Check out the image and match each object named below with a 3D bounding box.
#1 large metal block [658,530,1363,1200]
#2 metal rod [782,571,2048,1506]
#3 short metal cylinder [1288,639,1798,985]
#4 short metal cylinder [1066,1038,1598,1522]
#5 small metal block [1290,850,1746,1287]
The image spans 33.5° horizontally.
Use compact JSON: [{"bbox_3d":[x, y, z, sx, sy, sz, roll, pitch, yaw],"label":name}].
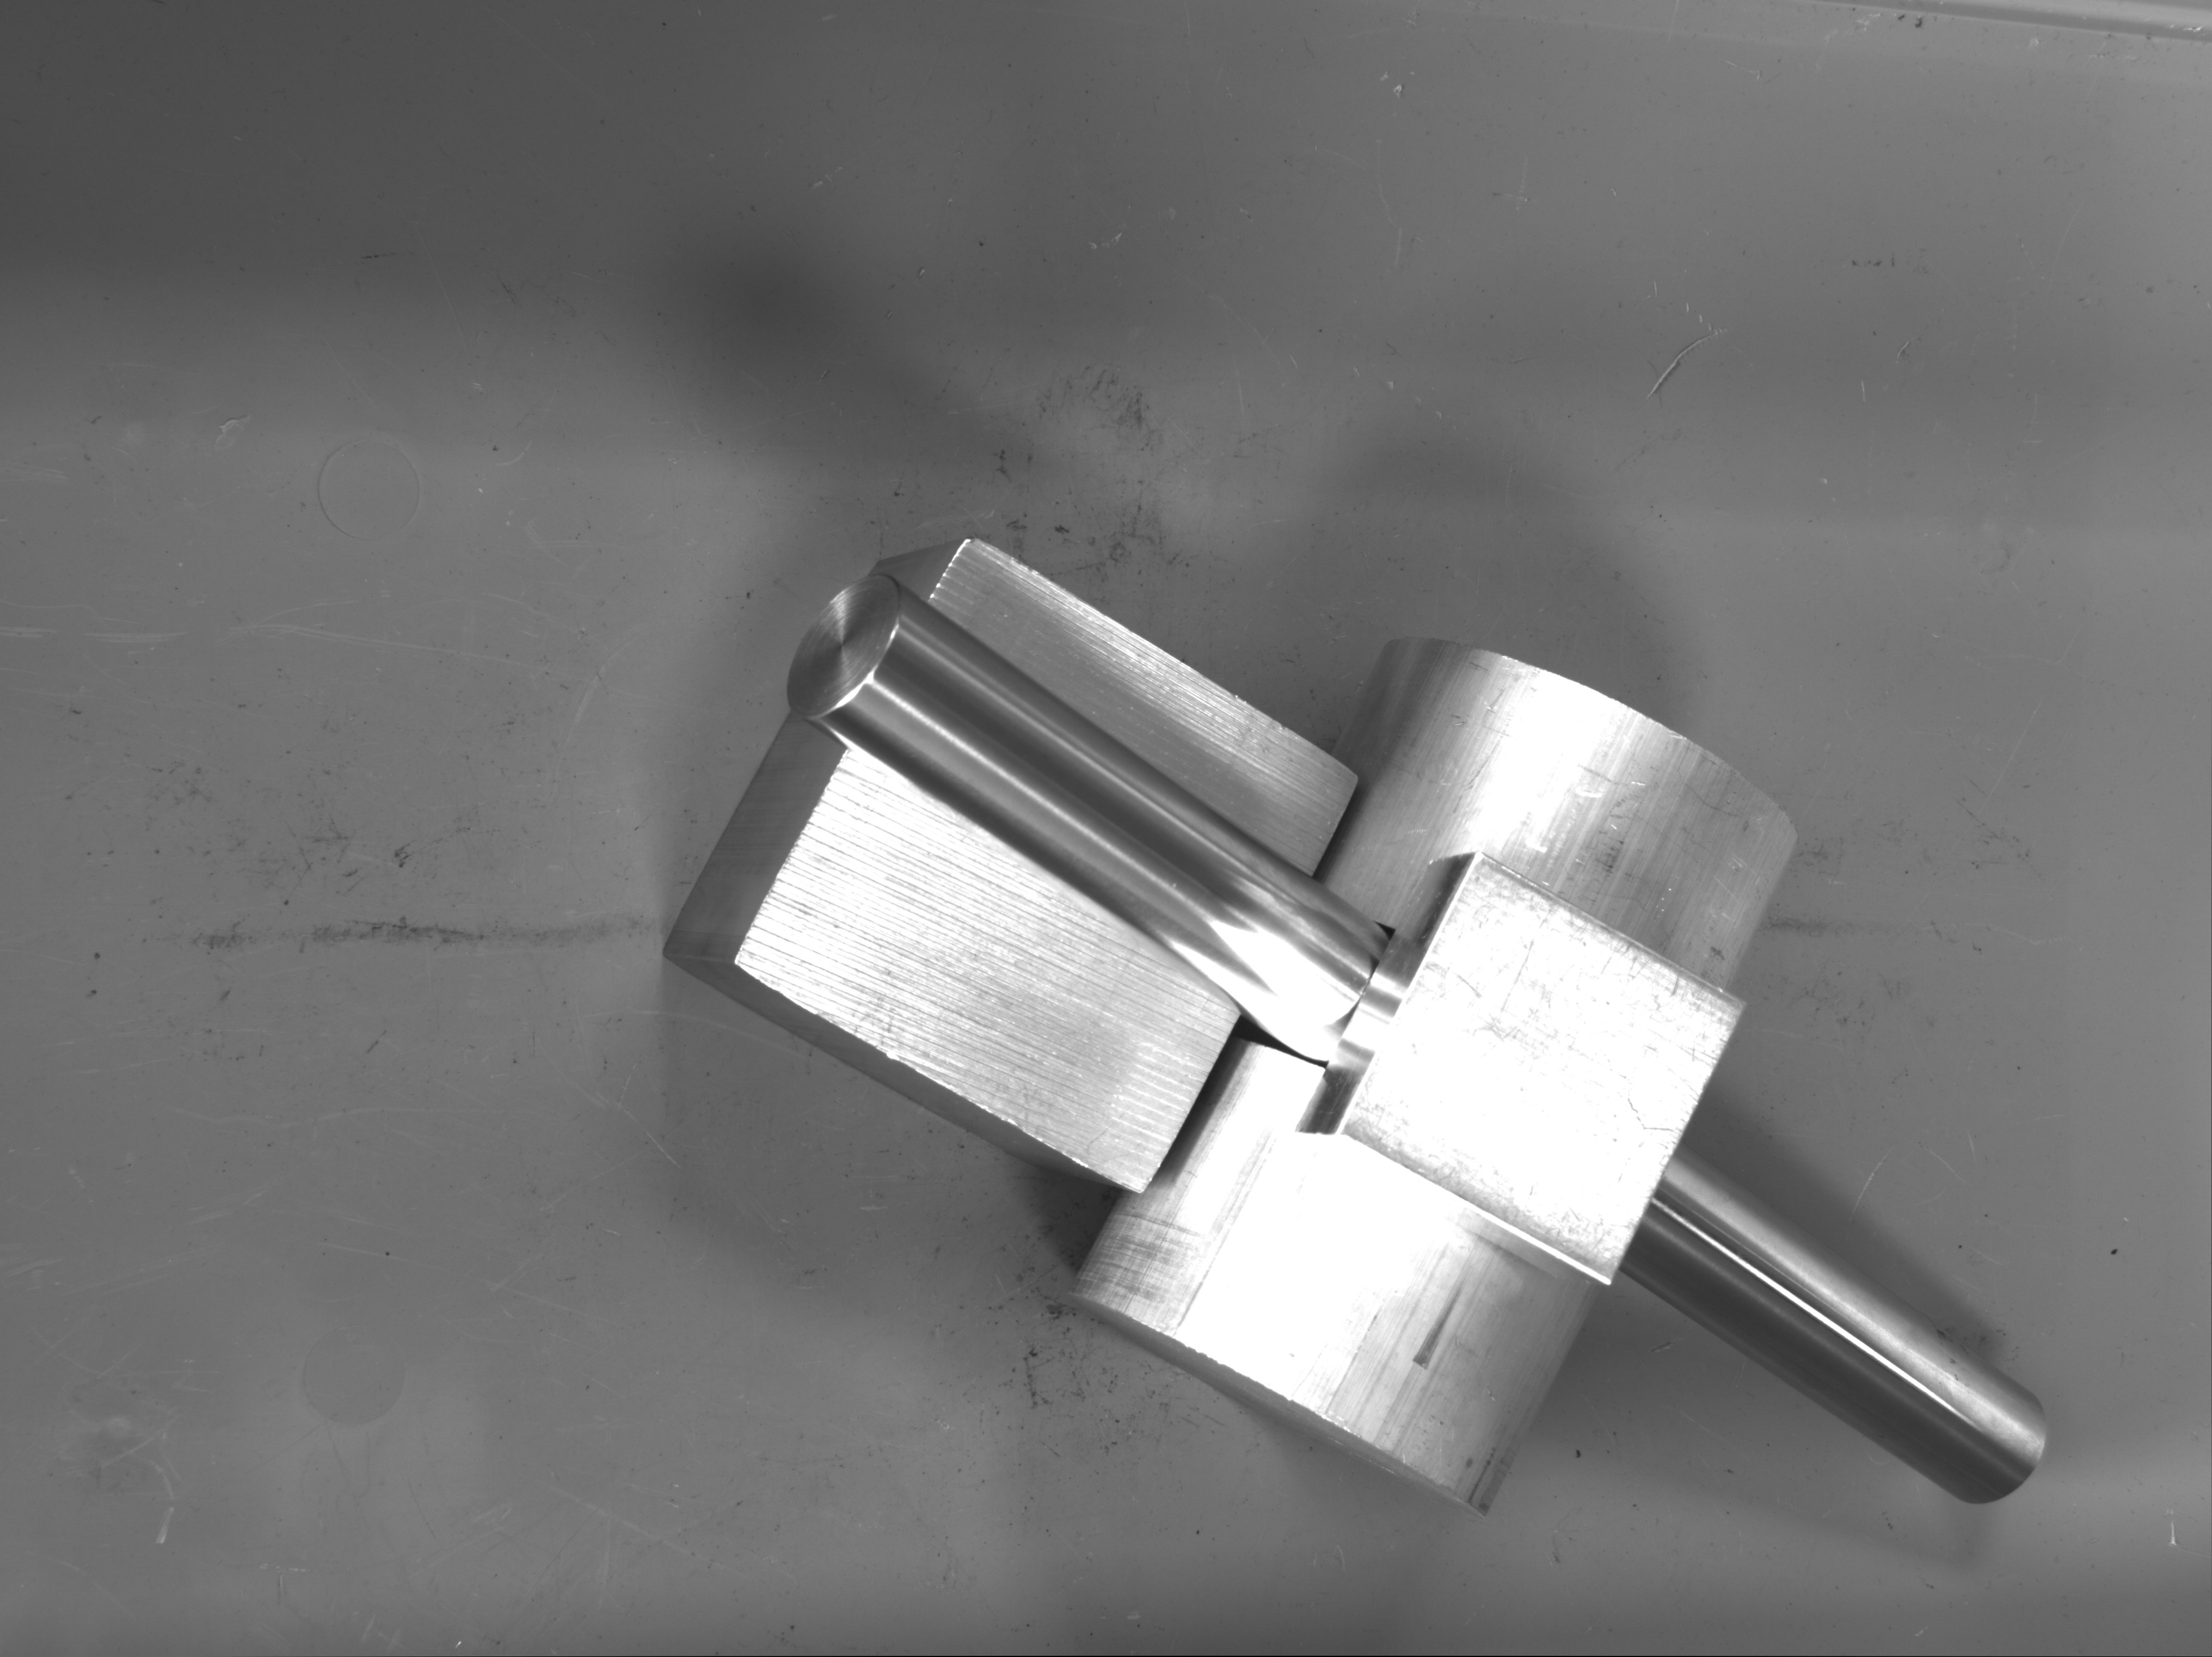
[{"bbox_3d":[-0.017,0.006,0.621,0.080,0.050,0.080,31,80,-17],"label":"large metal block"},{"bbox_3d":[0.065,0.045,0.624,0.301,0.025,0.025,35,78,-32],"label":"metal rod"},{"bbox_3d":[0.073,0.008,0.640,0.080,0.080,0.050,29,80,-17],"label":"short metal cylinder"},{"bbox_3d":[0.040,0.077,0.627,0.080,0.080,0.050,32,80,-17],"label":"short metal cylinder"},{"bbox_3d":[0.065,0.038,0.582,0.050,0.025,0.050,29,80,-9],"label":"small metal block"}]
